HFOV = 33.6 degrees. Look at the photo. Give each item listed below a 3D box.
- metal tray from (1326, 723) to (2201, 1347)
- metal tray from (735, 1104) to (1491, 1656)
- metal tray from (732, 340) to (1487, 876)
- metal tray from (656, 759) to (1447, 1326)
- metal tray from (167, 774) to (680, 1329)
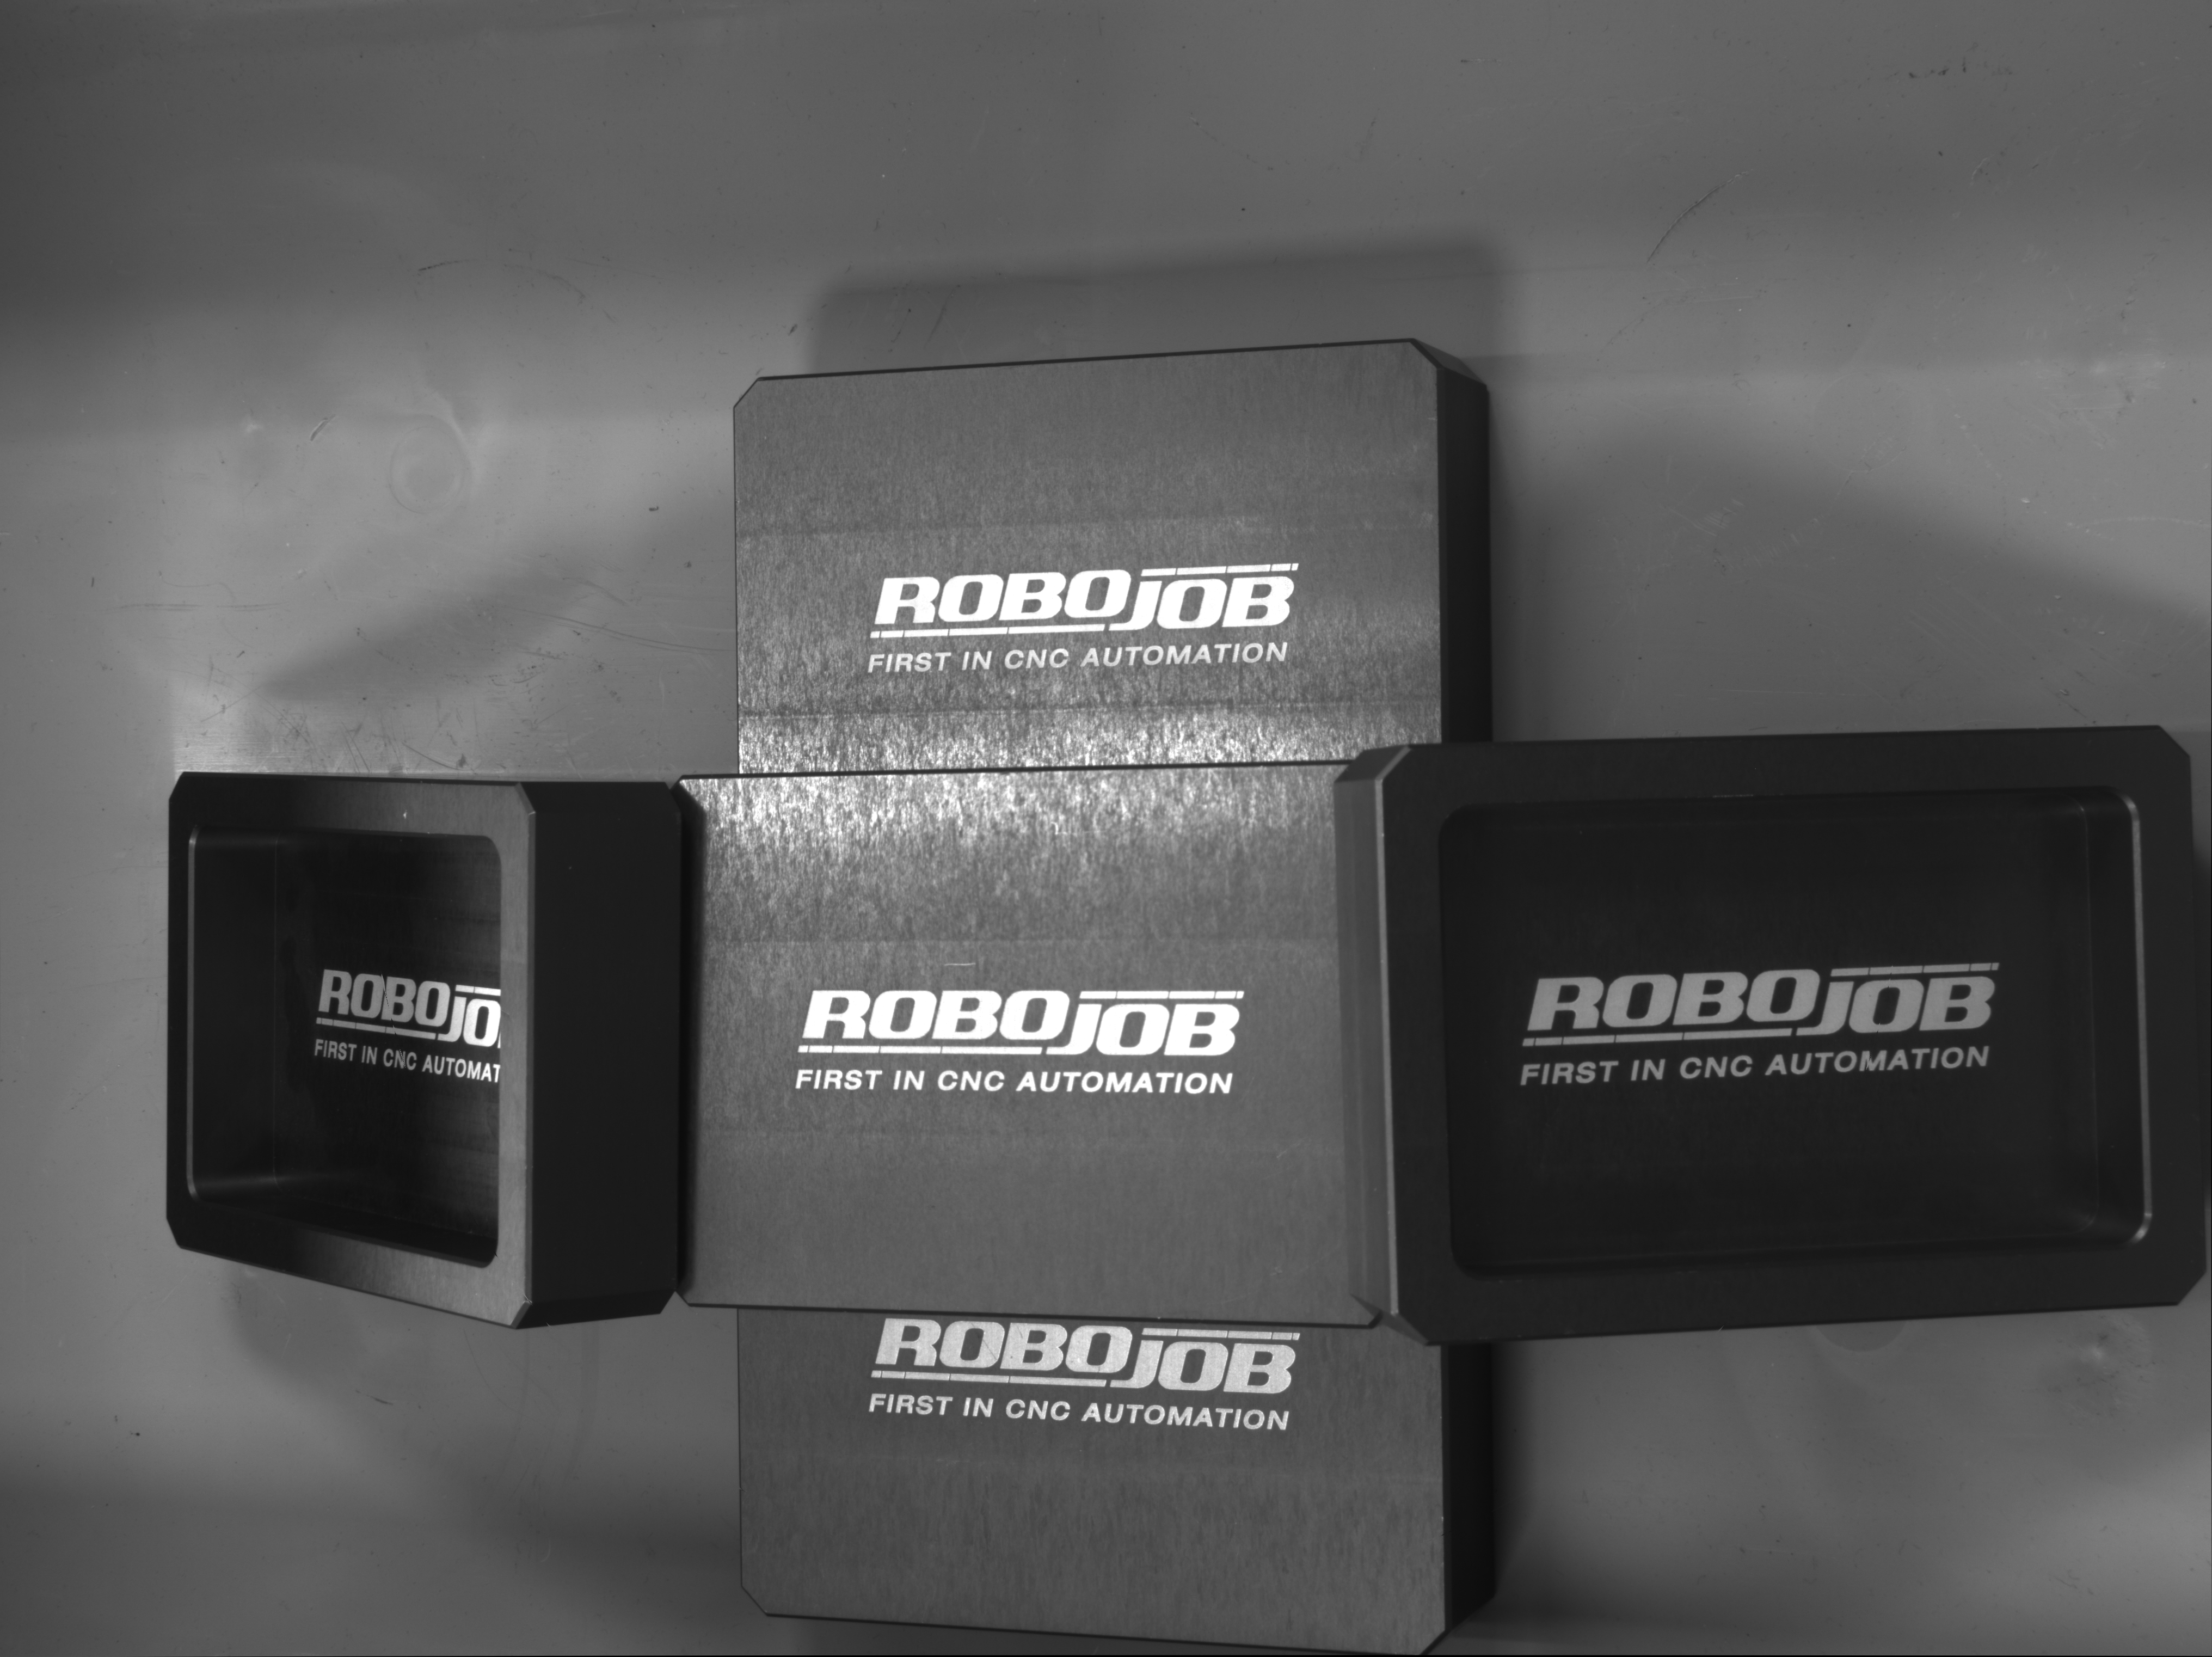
[{"bbox_3d":[0.102,0.031,0.572,0.130,0.030,0.090,-2,90,-9],"label":"metal tray"},{"bbox_3d":[0.000,0.094,0.641,0.130,0.030,0.090,-1,90,20],"label":"metal tray"},{"bbox_3d":[0.000,-0.035,0.641,0.130,0.030,0.090,-1,90,20],"label":"metal tray"},{"bbox_3d":[-0.010,0.035,0.614,0.130,0.030,0.090,-1,89,20],"label":"metal tray"},{"bbox_3d":[-0.125,0.036,0.655,0.129,0.030,0.090,2,92,49],"label":"metal tray"}]
